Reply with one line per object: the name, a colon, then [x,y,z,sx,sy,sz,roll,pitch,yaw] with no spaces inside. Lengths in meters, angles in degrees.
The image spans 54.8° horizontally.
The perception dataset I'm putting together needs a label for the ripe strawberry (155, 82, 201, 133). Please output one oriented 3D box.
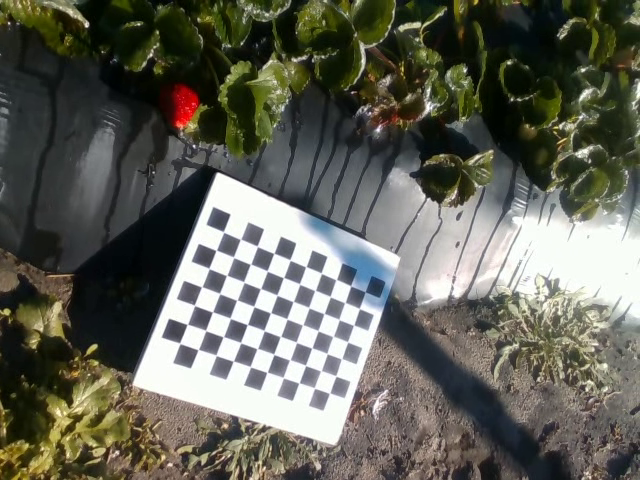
ripe strawberry: [-0.132,-0.124,0.576,0.041,0.053,0.047,17,-44,-24]
